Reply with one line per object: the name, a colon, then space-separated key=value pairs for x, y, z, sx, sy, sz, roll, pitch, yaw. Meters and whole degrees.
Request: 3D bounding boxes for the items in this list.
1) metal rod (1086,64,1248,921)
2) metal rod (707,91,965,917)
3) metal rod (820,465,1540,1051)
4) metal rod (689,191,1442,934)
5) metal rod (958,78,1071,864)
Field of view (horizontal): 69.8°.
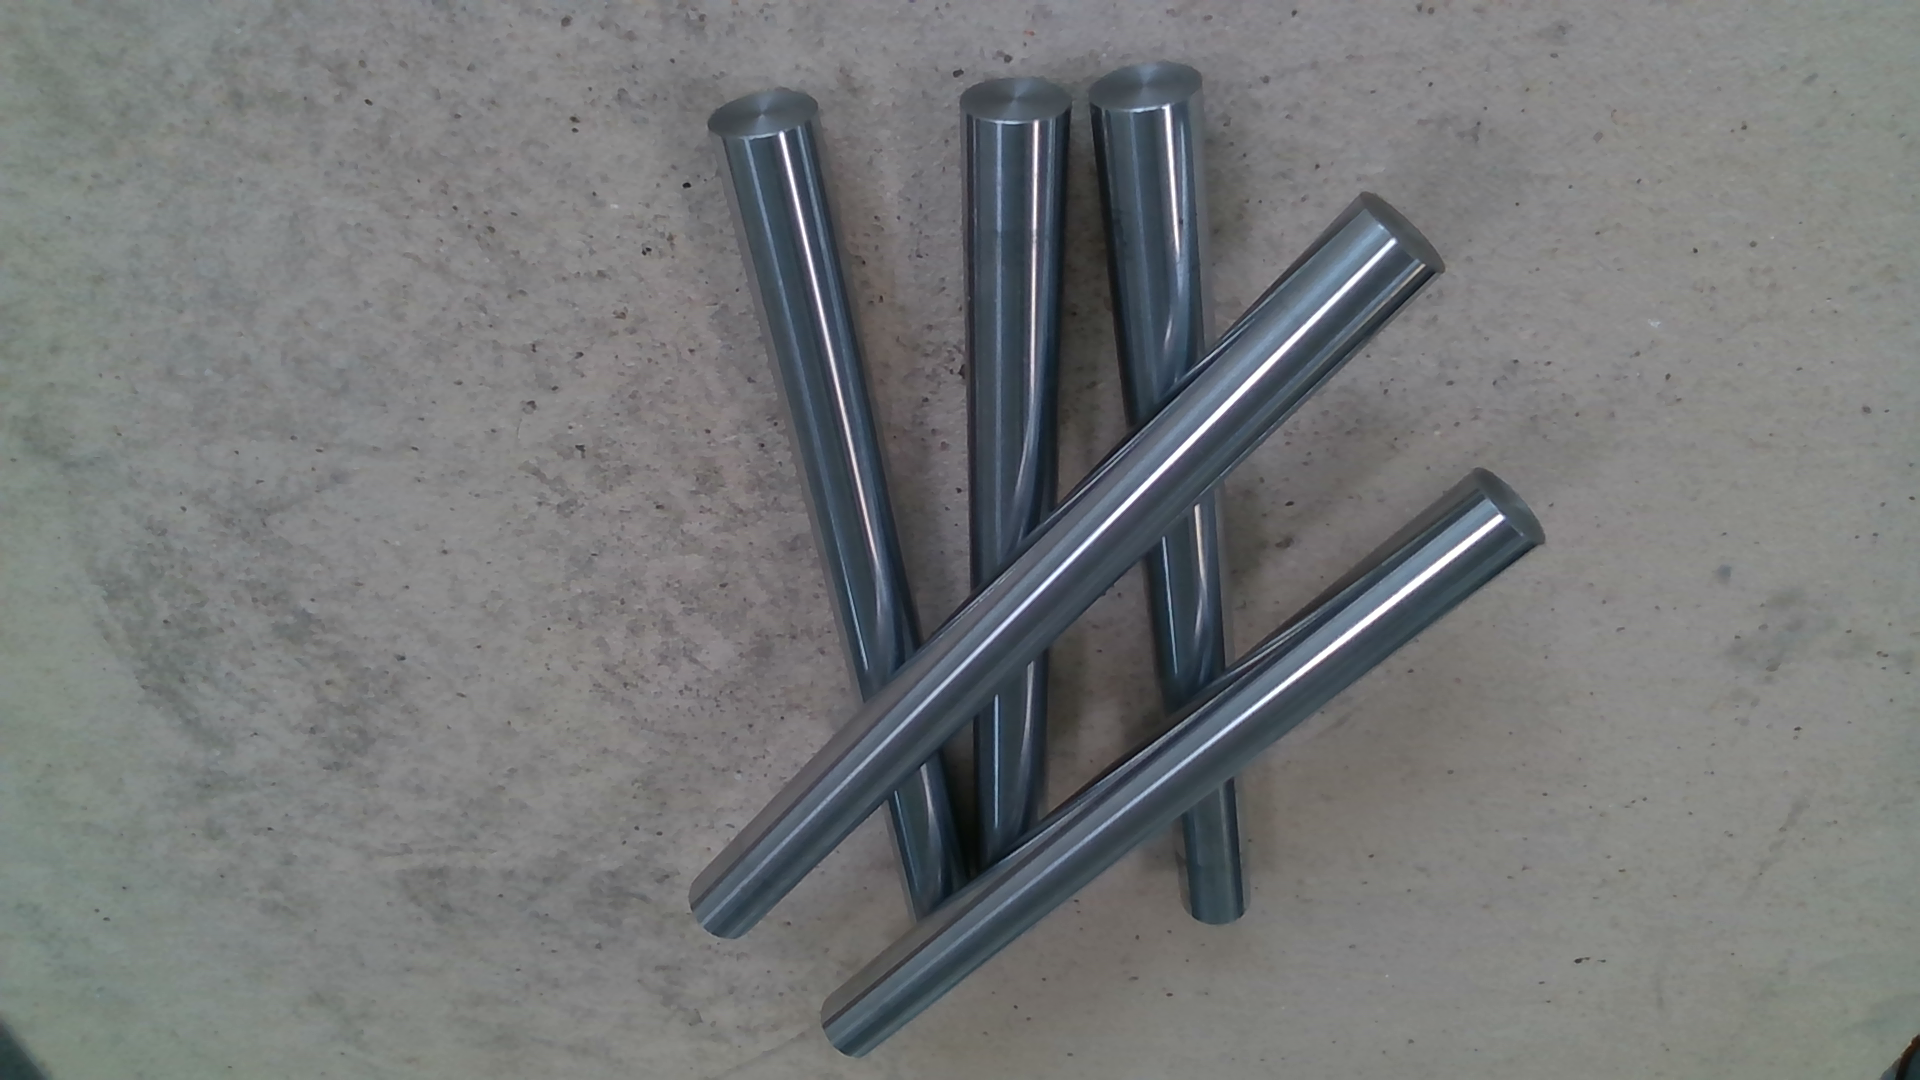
metal rod: x=0.066 y=0.013 z=0.400 sx=0.025 sy=0.025 sz=0.301 roll=-7 pitch=130 yaw=6
metal rod: x=-0.025 y=0.019 z=0.405 sx=0.025 sy=0.025 sz=0.301 roll=-6 pitch=130 yaw=5
metal rod: x=0.049 y=0.083 z=0.427 sx=0.025 sy=0.025 sz=0.301 roll=29 pitch=124 yaw=-23
metal rod: x=0.009 y=0.026 z=0.379 sx=0.025 sy=0.025 sz=0.301 roll=29 pitch=125 yaw=-22
metal rod: x=0.015 y=0.017 z=0.403 sx=0.025 sy=0.025 sz=0.301 roll=-1 pitch=130 yaw=1
